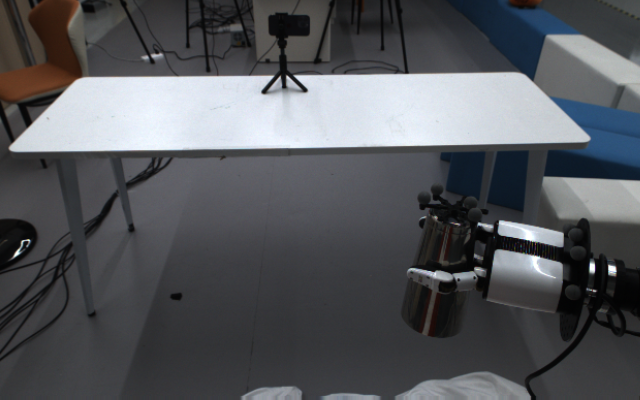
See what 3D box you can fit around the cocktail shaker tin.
[{"bbox_3d":[0.171,0.093,0.675,0.093,0.170,0.093,3,26,-1],"label":"cocktail shaker tin"}]
